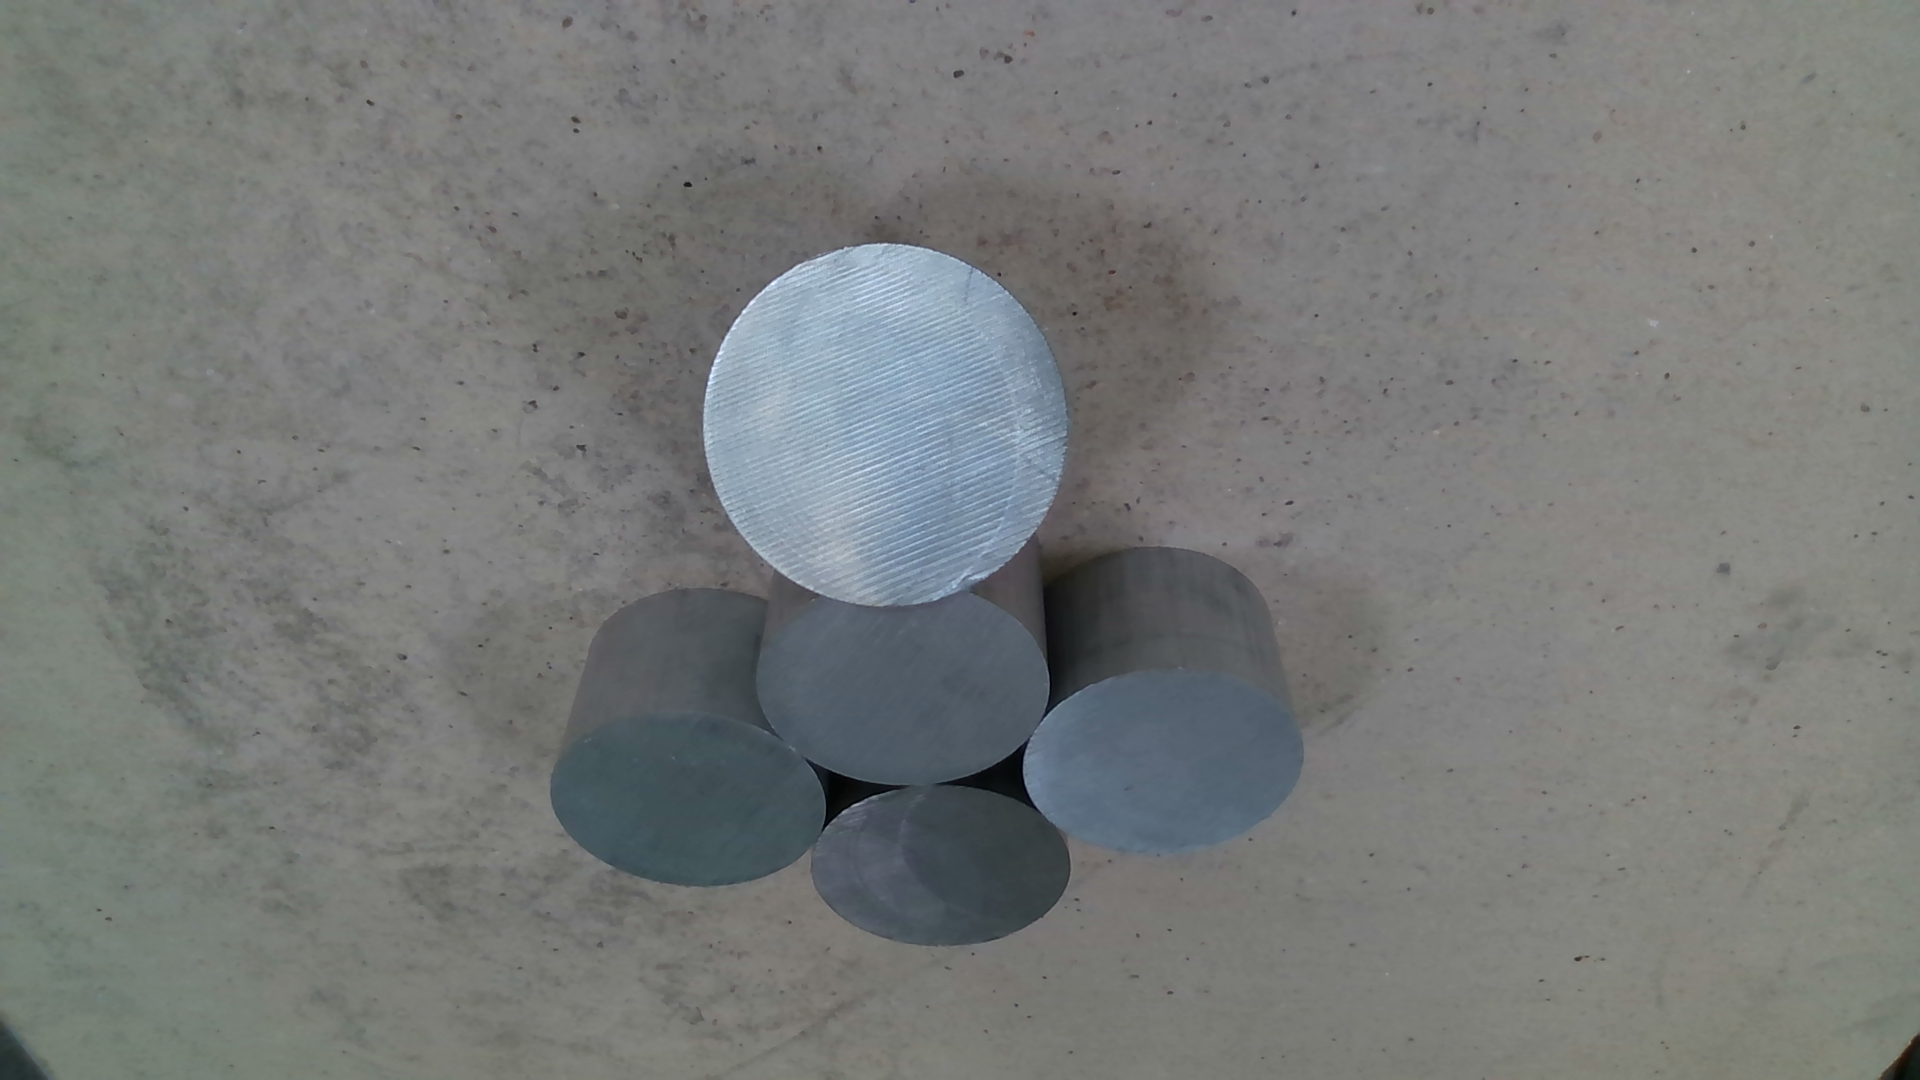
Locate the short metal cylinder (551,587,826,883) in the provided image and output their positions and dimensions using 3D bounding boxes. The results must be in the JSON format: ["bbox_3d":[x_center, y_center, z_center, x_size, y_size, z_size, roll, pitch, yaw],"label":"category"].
[{"bbox_3d":[-0.080,0.061,0.424,0.080,0.050,0.080,0,130,0],"label":"short metal cylinder"}]

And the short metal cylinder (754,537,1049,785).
[{"bbox_3d":[-0.016,0.024,0.393,0.080,0.050,0.080,0,130,0],"label":"short metal cylinder"}]

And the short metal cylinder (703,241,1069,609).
[{"bbox_3d":[-0.017,-0.024,0.326,0.080,0.050,0.080,0,86,-1],"label":"short metal cylinder"}]

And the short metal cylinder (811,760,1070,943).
[{"bbox_3d":[-0.006,0.086,0.445,0.080,0.050,0.080,0,130,0],"label":"short metal cylinder"}]

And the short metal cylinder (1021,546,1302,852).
[{"bbox_3d":[0.058,0.049,0.414,0.080,0.050,0.080,0,130,0],"label":"short metal cylinder"}]
